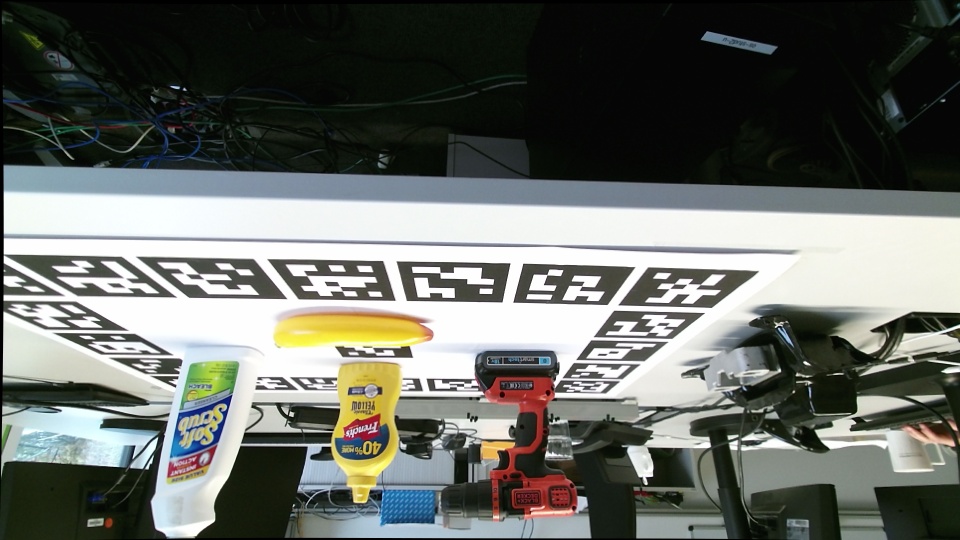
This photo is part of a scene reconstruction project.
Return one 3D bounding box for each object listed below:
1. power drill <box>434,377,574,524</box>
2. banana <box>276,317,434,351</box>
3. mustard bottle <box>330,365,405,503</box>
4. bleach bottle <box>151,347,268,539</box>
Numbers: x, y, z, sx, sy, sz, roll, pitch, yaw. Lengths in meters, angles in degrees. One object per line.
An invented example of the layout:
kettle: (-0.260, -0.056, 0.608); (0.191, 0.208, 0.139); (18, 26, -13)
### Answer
power drill: (0.025, 0.246, 0.731); (0.185, 0.186, 0.057); (-5, 152, 1)
banana: (-0.154, 0.080, 0.621); (0.198, 0.038, 0.074); (-3, 150, 1)
mustard bottle: (-0.166, 0.236, 0.780); (0.096, 0.190, 0.058); (-1, 152, 6)
bleach bottle: (-0.356, 0.230, 0.702); (0.103, 0.249, 0.068); (5, 152, -9)
